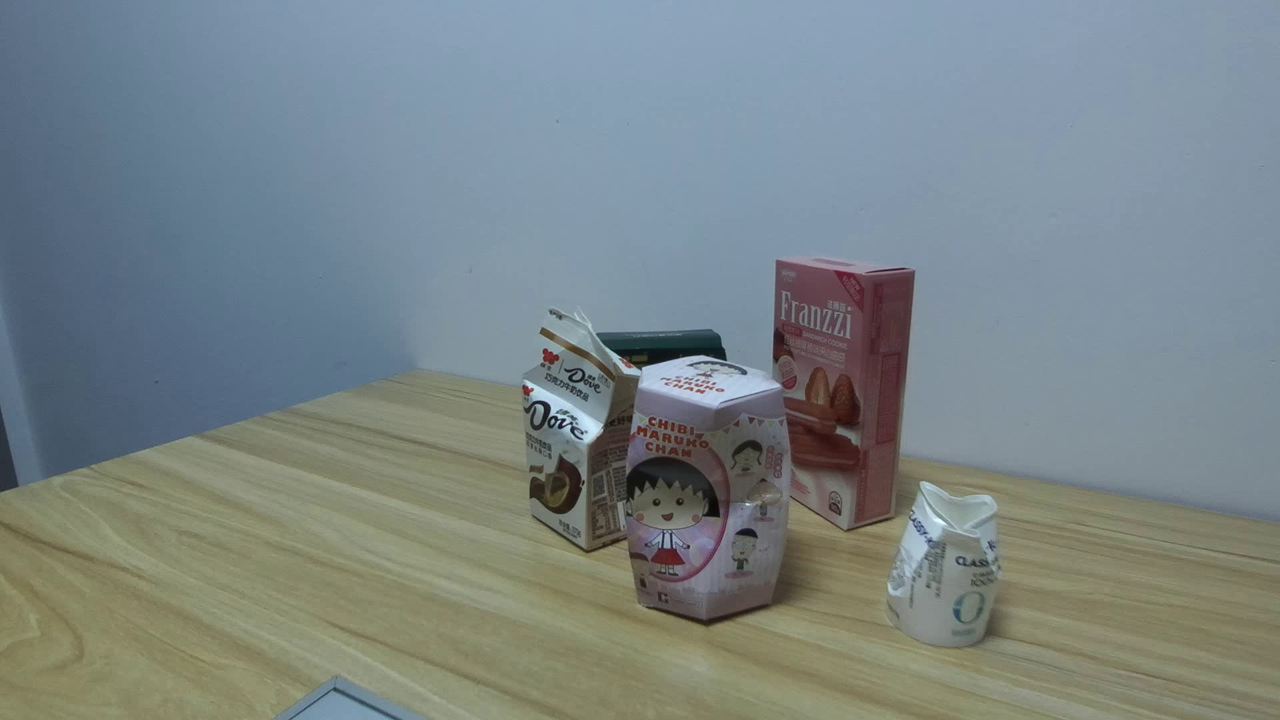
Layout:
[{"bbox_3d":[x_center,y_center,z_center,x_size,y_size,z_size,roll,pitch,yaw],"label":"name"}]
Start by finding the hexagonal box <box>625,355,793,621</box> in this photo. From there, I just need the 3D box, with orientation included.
[{"bbox_3d":[0.034,0.072,0.413,0.089,0.134,0.093,-1,16,-7],"label":"hexagonal box"}]

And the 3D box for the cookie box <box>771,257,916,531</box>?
[{"bbox_3d":[0.142,0.021,0.518,0.048,0.184,0.095,-8,17,-27],"label":"cookie box"}]

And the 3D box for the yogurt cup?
[{"bbox_3d":[0.168,0.112,0.386,0.055,0.072,0.055,15,21,36],"label":"yogurt cup"}]

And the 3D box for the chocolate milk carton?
[{"bbox_3d":[-0.031,0.042,0.487,0.074,0.155,0.076,-13,19,-36],"label":"chocolate milk carton"}]
